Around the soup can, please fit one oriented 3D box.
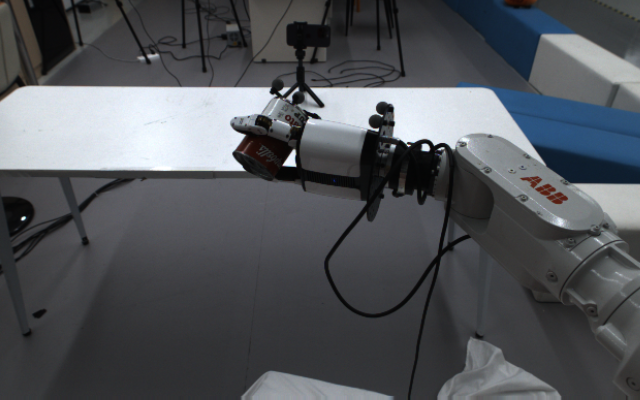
[{"bbox_3d":[-0.067,-0.087,0.684,0.067,0.067,0.101,24,73,28],"label":"soup can"}]
